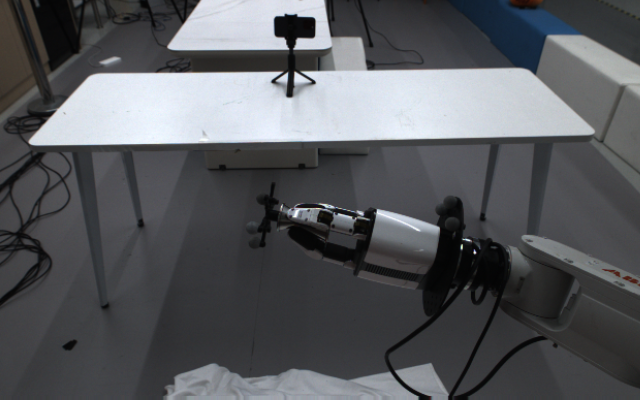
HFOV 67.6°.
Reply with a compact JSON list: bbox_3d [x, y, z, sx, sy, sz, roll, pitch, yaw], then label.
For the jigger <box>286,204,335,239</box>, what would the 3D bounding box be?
[{"bbox_3d":[-0.013,0.025,0.642,0.071,0.043,0.043,11,35,3],"label":"jigger"}]
